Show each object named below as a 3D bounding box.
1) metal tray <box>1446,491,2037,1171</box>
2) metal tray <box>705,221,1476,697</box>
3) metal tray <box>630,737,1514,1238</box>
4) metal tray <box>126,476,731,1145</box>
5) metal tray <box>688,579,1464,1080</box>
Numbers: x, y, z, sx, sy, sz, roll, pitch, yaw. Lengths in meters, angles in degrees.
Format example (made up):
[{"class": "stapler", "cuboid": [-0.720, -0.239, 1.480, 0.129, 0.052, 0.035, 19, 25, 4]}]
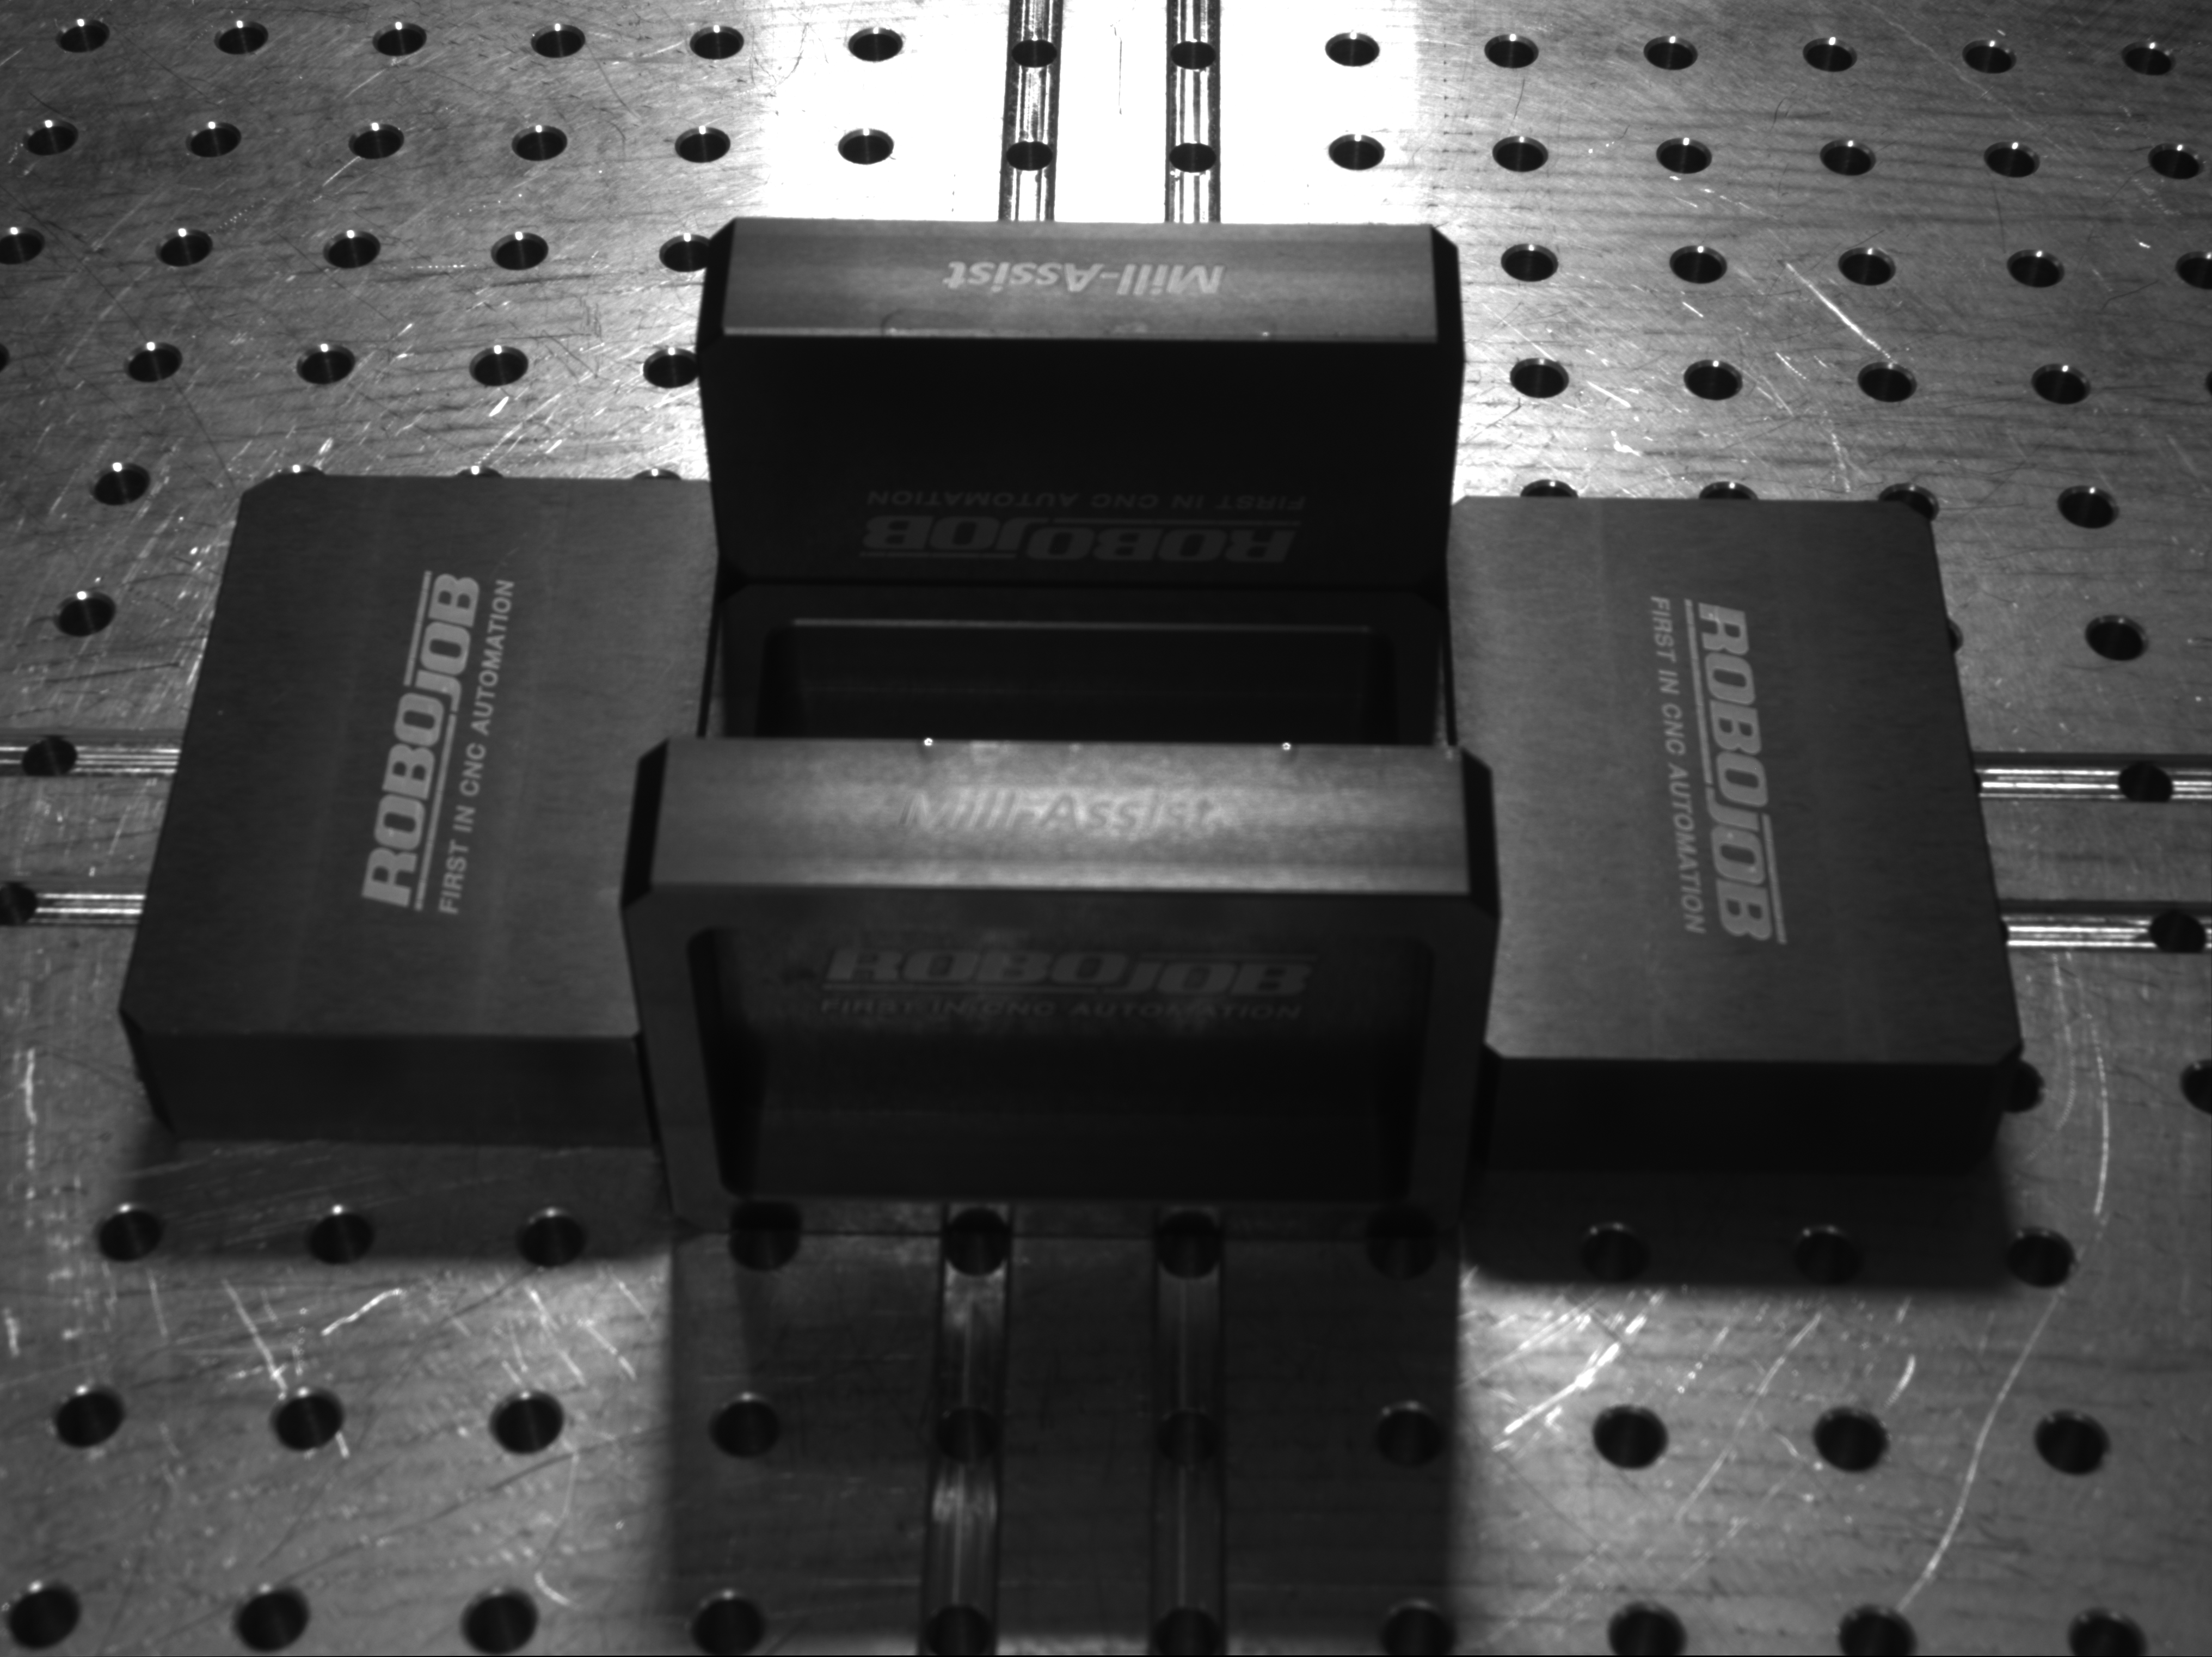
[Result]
[{"class": "metal tray", "cuboid": [0.107, -0.002, 0.642, 0.090, 0.030, 0.130, 1, 50, 0]}, {"class": "metal tray", "cuboid": [-0.002, -0.065, 0.657, 0.130, 0.090, 0.030, 1, 50, 1]}, {"class": "metal tray", "cuboid": [-0.005, 0.027, 0.578, 0.130, 0.090, 0.030, 1, 50, 1]}, {"class": "metal tray", "cuboid": [-0.114, -0.006, 0.646, 0.090, 0.030, 0.130, 1, 50, 1]}, {"class": "metal tray", "cuboid": [-0.003, -0.001, 0.640, 0.130, 0.030, 0.090, 1, 50, 1]}]
